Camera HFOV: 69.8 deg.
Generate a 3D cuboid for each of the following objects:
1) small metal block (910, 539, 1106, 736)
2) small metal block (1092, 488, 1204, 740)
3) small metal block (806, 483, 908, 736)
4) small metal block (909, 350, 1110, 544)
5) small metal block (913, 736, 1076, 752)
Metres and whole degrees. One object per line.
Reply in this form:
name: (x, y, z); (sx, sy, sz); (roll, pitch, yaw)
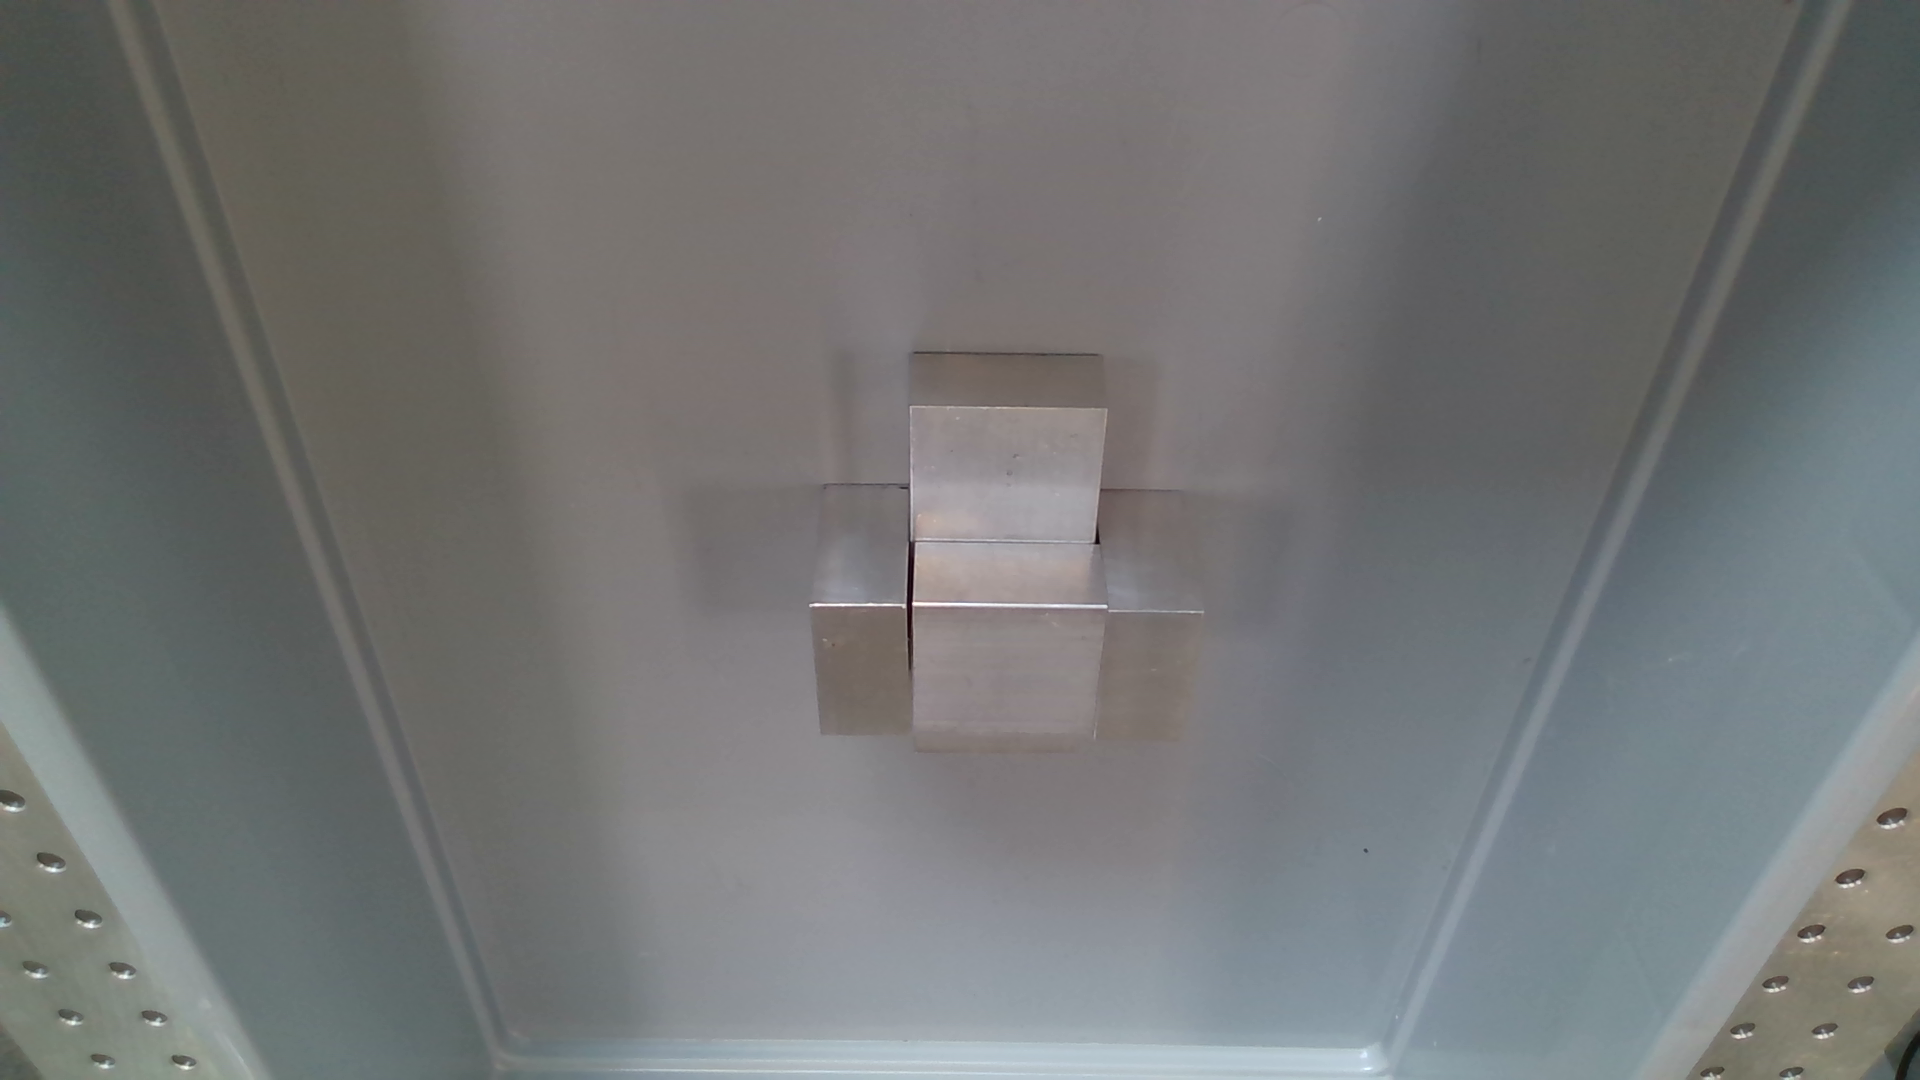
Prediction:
small metal block: (0.012, 0.027, 0.377); (0.050, 0.025, 0.050); (1, 130, 0)
small metal block: (0.050, 0.020, 0.388); (0.025, 0.050, 0.050); (1, 130, 0)
small metal block: (-0.027, 0.019, 0.385); (0.025, 0.050, 0.050); (1, 130, 0)
small metal block: (0.012, -0.022, 0.368); (0.050, 0.025, 0.050); (1, 130, 0)
small metal block: (0.011, 0.038, 0.420); (0.050, 0.025, 0.050); (1, 130, 0)
